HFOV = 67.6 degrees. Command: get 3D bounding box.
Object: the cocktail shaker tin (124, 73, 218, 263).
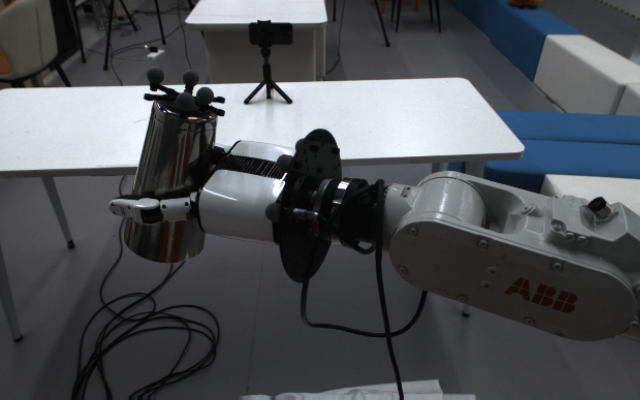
[{"bbox_3d":[-0.160,-0.027,0.539,0.093,0.170,0.093,14,27,-7],"label":"cocktail shaker tin"}]
